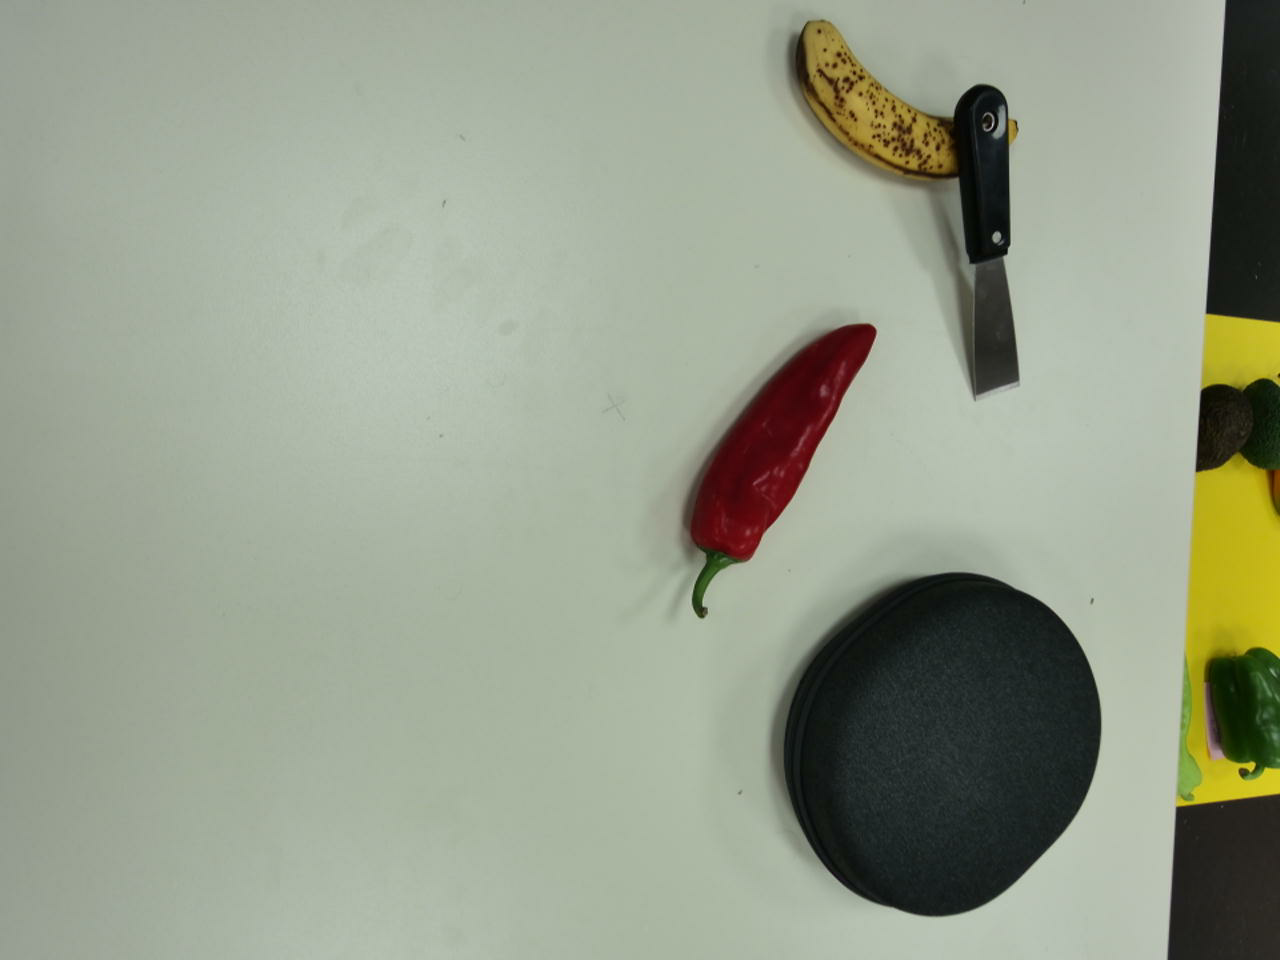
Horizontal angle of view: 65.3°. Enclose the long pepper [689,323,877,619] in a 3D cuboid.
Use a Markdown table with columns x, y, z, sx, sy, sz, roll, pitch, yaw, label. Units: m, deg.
| x | y | z | sx | sy | sz | roll | pitch | yaw | label |
| --- | --- | --- | --- | --- | --- | --- | --- | --- | --- |
| 0.077 | -0.015 | 0.584 | 0.050 | 0.043 | 0.211 | 39 | 77 | -18 | long pepper |
